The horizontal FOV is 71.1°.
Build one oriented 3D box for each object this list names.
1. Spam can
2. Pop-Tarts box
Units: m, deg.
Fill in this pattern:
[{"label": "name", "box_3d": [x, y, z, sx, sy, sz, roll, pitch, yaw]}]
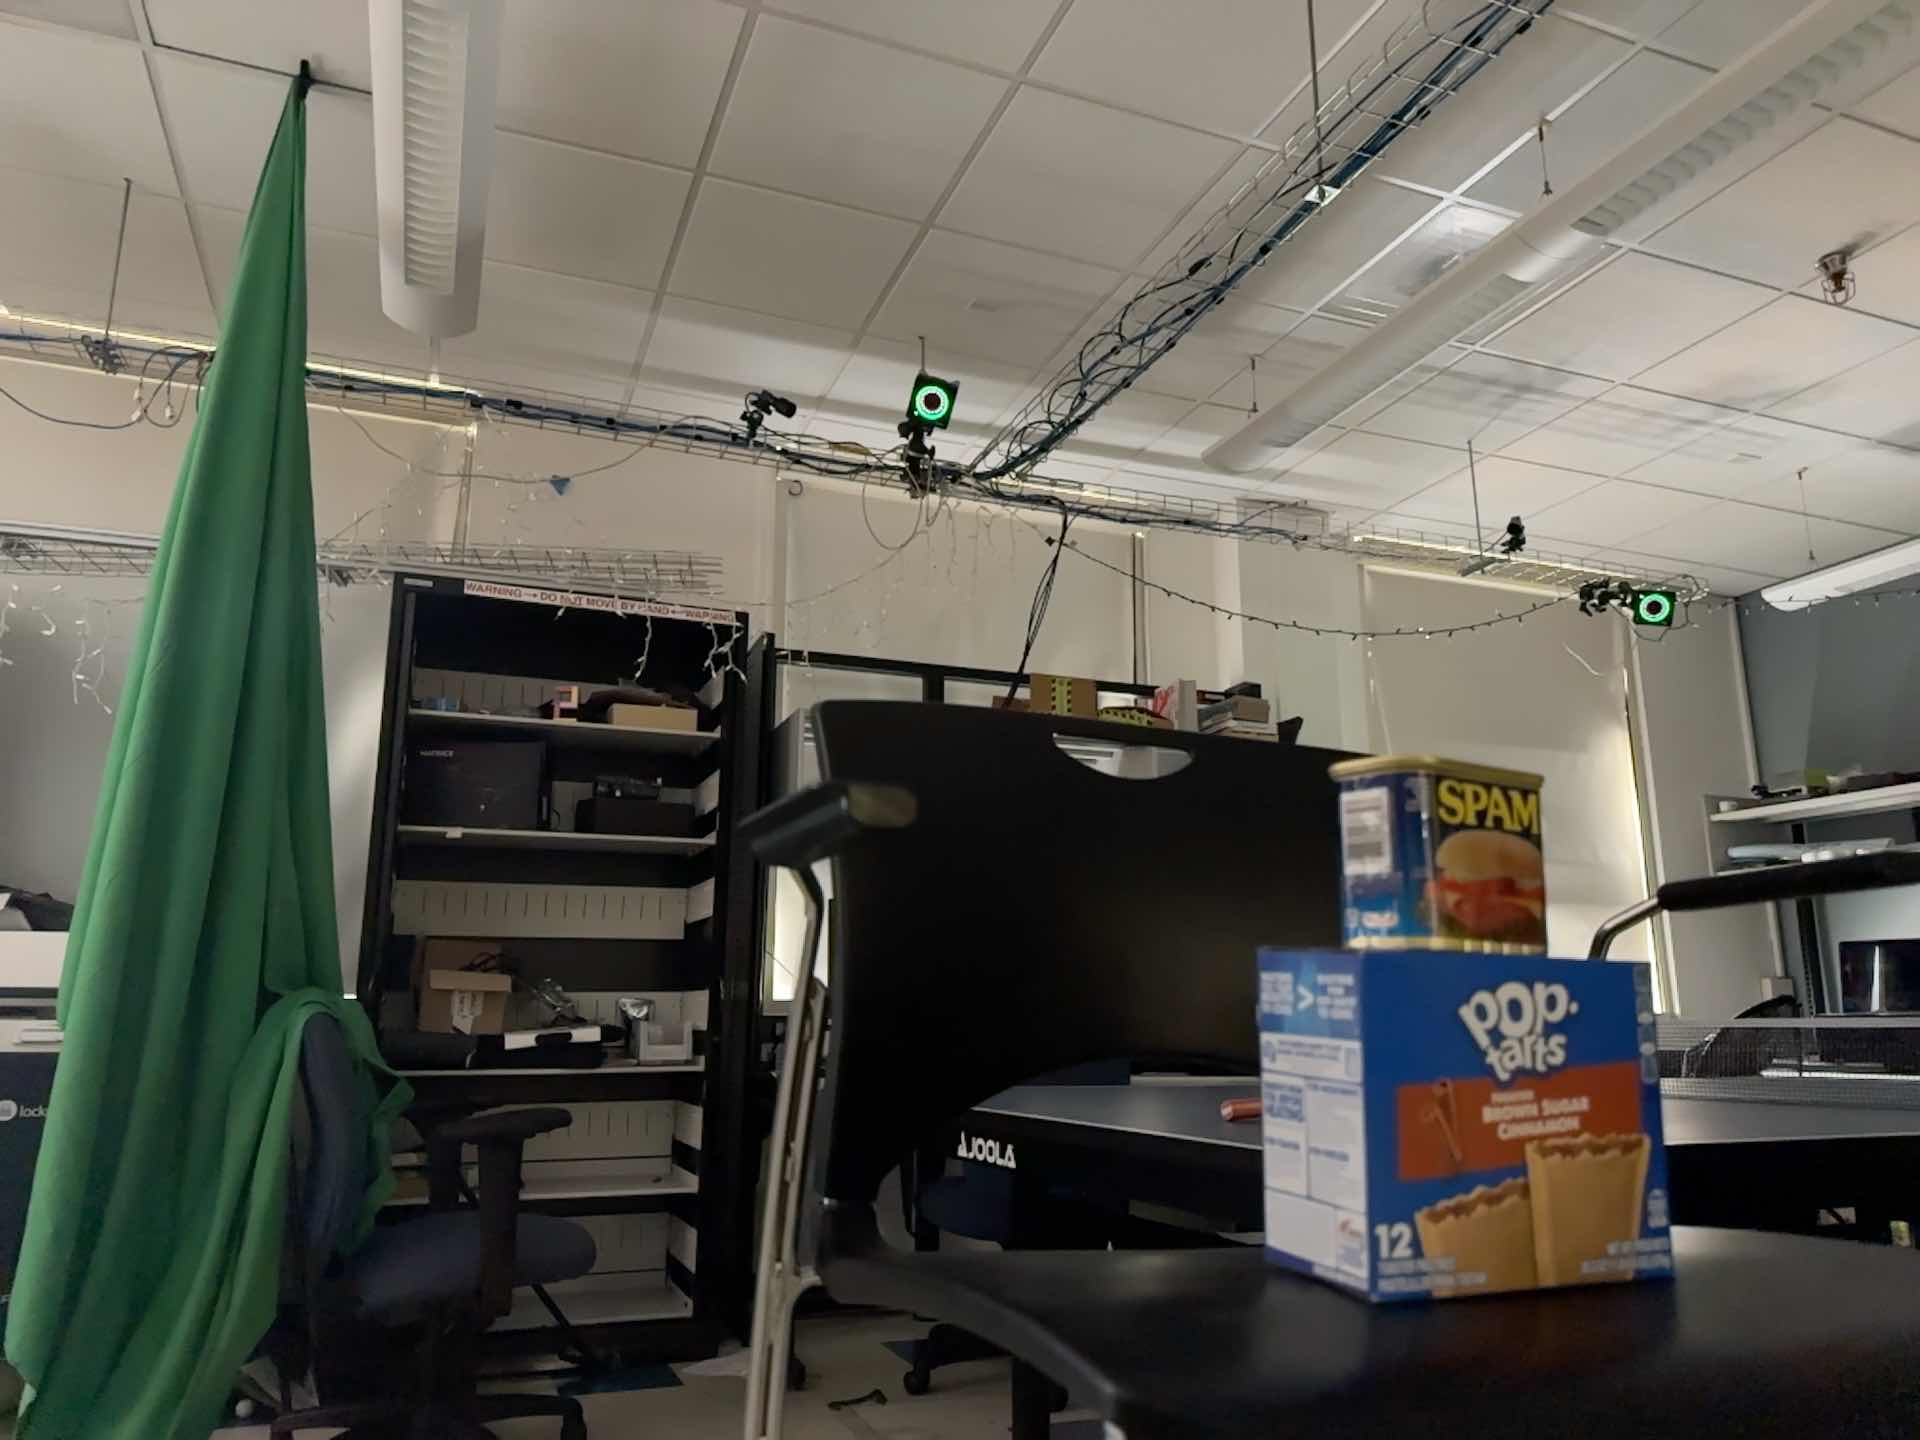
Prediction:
[{"label": "Spam can", "box_3d": [0.226, 0.065, 0.628, 0.100, 0.083, 0.056, 7, -10, -27]}, {"label": "Pop-Tarts box", "box_3d": [0.231, 0.180, 0.619, 0.161, 0.135, 0.075, 5, -10, -24]}]
